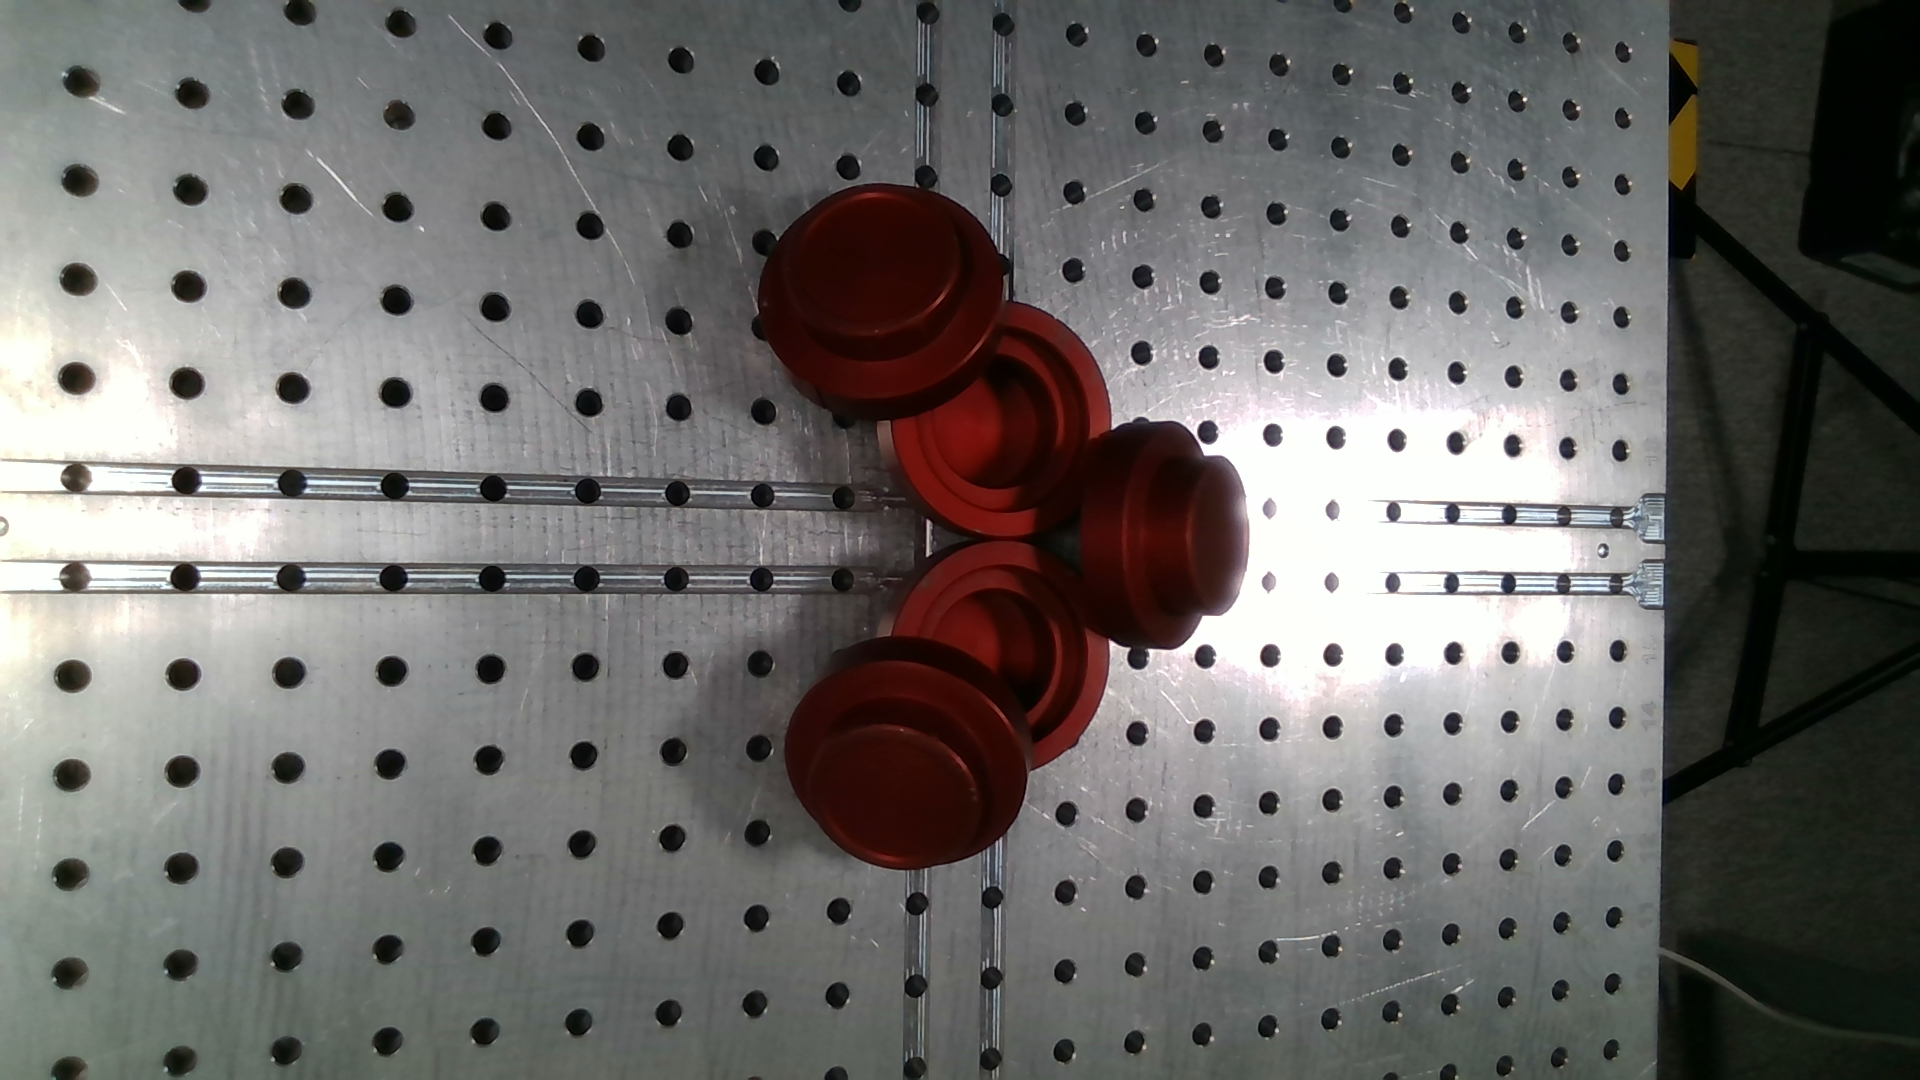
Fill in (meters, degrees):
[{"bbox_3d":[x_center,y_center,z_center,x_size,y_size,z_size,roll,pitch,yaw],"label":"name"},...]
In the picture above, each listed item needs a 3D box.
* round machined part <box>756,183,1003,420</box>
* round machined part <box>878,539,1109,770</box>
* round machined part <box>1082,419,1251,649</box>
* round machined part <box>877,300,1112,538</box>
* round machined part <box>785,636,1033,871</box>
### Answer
[{"bbox_3d":[-0.032,-0.100,0.542,0.098,0.042,0.098,-2,67,5],"label":"round machined part"},{"bbox_3d":[0.010,0.049,0.583,0.098,0.042,0.098,0,90,-20],"label":"round machined part"},{"bbox_3d":[0.092,-0.002,0.586,0.098,0.042,0.098,0,90,-58],"label":"round machined part"},{"bbox_3d":[0.011,-0.050,0.582,0.098,0.042,0.098,0,90,-20],"label":"round machined part"},{"bbox_3d":[-0.022,0.091,0.543,0.098,0.042,0.098,4,116,8],"label":"round machined part"}]
